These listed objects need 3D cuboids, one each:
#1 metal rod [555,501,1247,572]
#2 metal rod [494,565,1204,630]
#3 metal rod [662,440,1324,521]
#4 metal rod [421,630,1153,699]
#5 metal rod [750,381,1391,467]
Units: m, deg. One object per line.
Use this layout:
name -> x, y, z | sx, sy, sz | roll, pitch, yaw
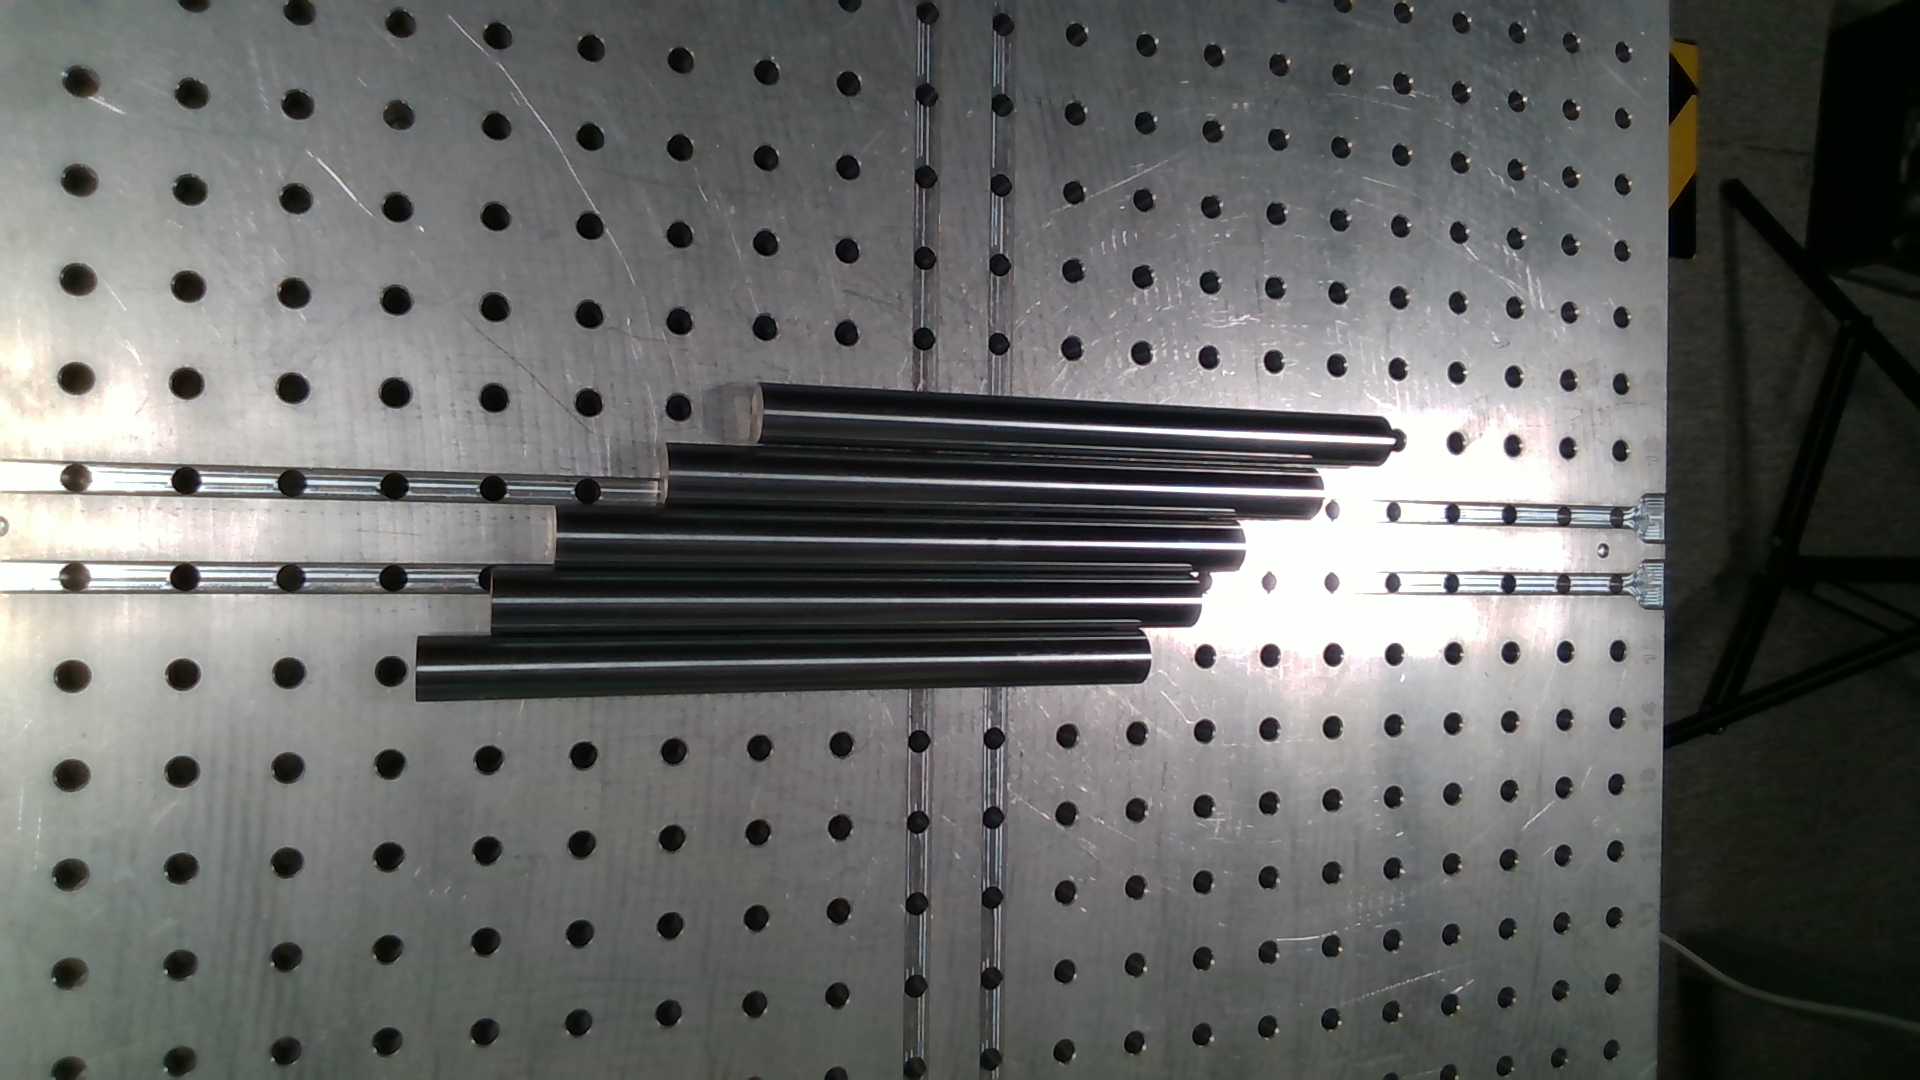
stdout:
metal rod -> -0.015, 0.000, 0.582 | 0.300, 0.025, 0.025 | 1, 90, -20
metal rod -> -0.036, 0.025, 0.574 | 0.300, 0.025, 0.025 | 1, 90, -20
metal rod -> 0.023, -0.024, 0.596 | 0.300, 0.025, 0.025 | 1, 90, -20
metal rod -> -0.060, 0.050, 0.566 | 0.300, 0.025, 0.025 | 1, 90, -20
metal rod -> 0.058, -0.049, 0.610 | 0.300, 0.025, 0.025 | 1, 90, -20
